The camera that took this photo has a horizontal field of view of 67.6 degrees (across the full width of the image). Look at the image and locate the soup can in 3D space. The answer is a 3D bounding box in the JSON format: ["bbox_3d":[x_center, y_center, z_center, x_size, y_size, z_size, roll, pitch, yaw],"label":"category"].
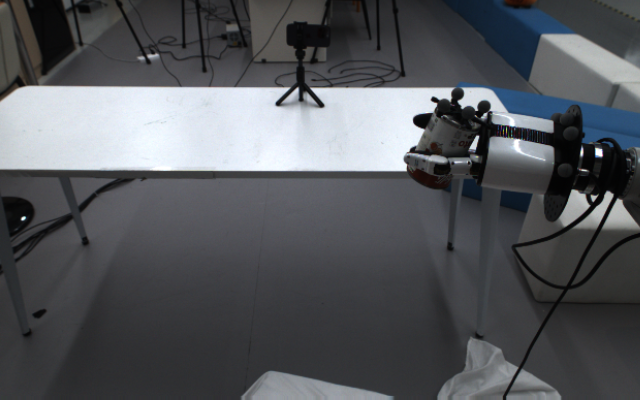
[{"bbox_3d":[0.174,-0.075,0.681,0.067,0.101,0.067,14,35,-10],"label":"soup can"}]
